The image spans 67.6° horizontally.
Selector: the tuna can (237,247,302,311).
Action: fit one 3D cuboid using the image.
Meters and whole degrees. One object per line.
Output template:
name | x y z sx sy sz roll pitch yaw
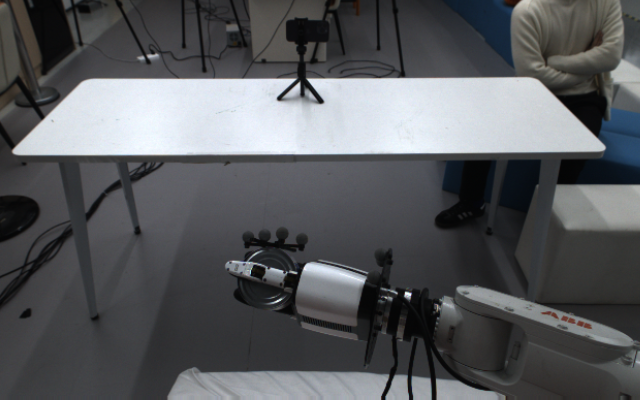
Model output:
tuna can | -0.068 0.111 0.673 0.085 0.034 0.085 -3 73 10
